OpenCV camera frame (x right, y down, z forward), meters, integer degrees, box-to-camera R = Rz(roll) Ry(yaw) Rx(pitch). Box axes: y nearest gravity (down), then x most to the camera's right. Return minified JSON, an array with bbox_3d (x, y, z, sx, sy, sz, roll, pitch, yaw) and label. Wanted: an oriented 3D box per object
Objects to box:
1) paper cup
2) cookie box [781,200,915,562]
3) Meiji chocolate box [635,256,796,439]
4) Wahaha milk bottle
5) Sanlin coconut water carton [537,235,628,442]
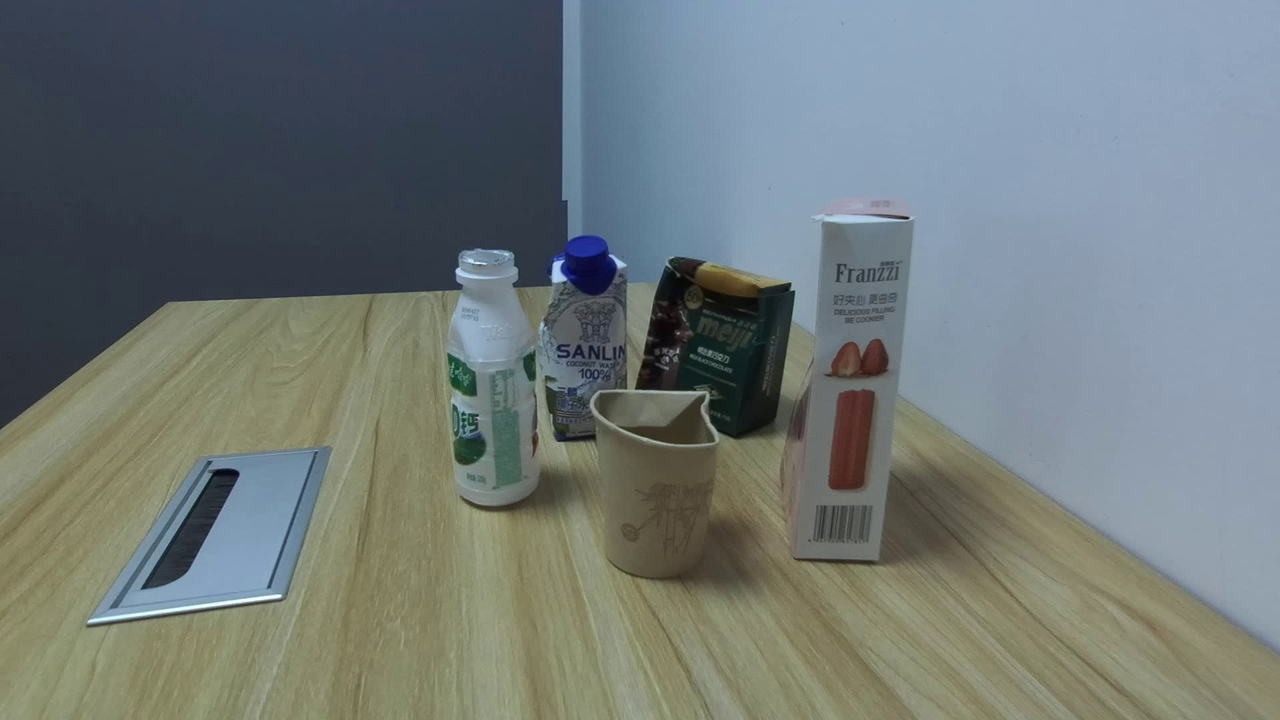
[{"bbox_3d":[0.006,0.064,0.370,0.066,0.084,0.071,2,21,0],"label":"paper cup"},{"bbox_3d":[0.111,0.007,0.392,0.055,0.184,0.118,5,20,9],"label":"cookie box"},{"bbox_3d":[0.057,-0.011,0.554,0.112,0.110,0.058,18,17,42],"label":"Meiji chocolate box"},{"bbox_3d":[-0.085,0.011,0.415,0.055,0.149,0.055,2,20,-1],"label":"Wahaha milk bottle"},{"bbox_3d":[-0.041,-0.017,0.501,0.061,0.143,0.069,-4,20,-13],"label":"Sanlin coconut water carton"}]
